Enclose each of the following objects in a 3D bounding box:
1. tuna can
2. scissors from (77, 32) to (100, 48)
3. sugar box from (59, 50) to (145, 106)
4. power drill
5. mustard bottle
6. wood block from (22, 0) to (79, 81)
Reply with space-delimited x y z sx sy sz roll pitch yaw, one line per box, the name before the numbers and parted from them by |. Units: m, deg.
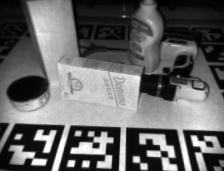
tuna can | -0.186 0.001 0.493 0.086 0.034 0.085 1 46 0
scissors | -0.050 -0.133 0.642 0.202 0.016 0.087 4 42 4
sugar box | -0.021 -0.015 0.476 0.175 0.093 0.045 12 43 9
power drill | 0.128 -0.060 0.543 0.183 0.058 0.187 12 54 12
mustard bottle | 0.083 -0.140 0.539 0.059 0.192 0.095 -29 53 -24
wood block | -0.139 -0.125 0.515 0.091 0.207 0.089 -19 49 -17
